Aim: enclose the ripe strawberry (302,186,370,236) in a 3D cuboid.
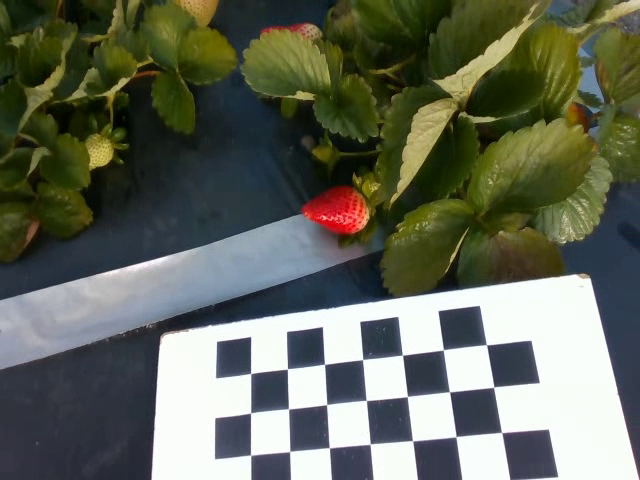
[{"bbox_3d":[0.008,-0.019,0.388,0.055,0.050,0.036,-8,-21,-7],"label":"ripe strawberry"}]
